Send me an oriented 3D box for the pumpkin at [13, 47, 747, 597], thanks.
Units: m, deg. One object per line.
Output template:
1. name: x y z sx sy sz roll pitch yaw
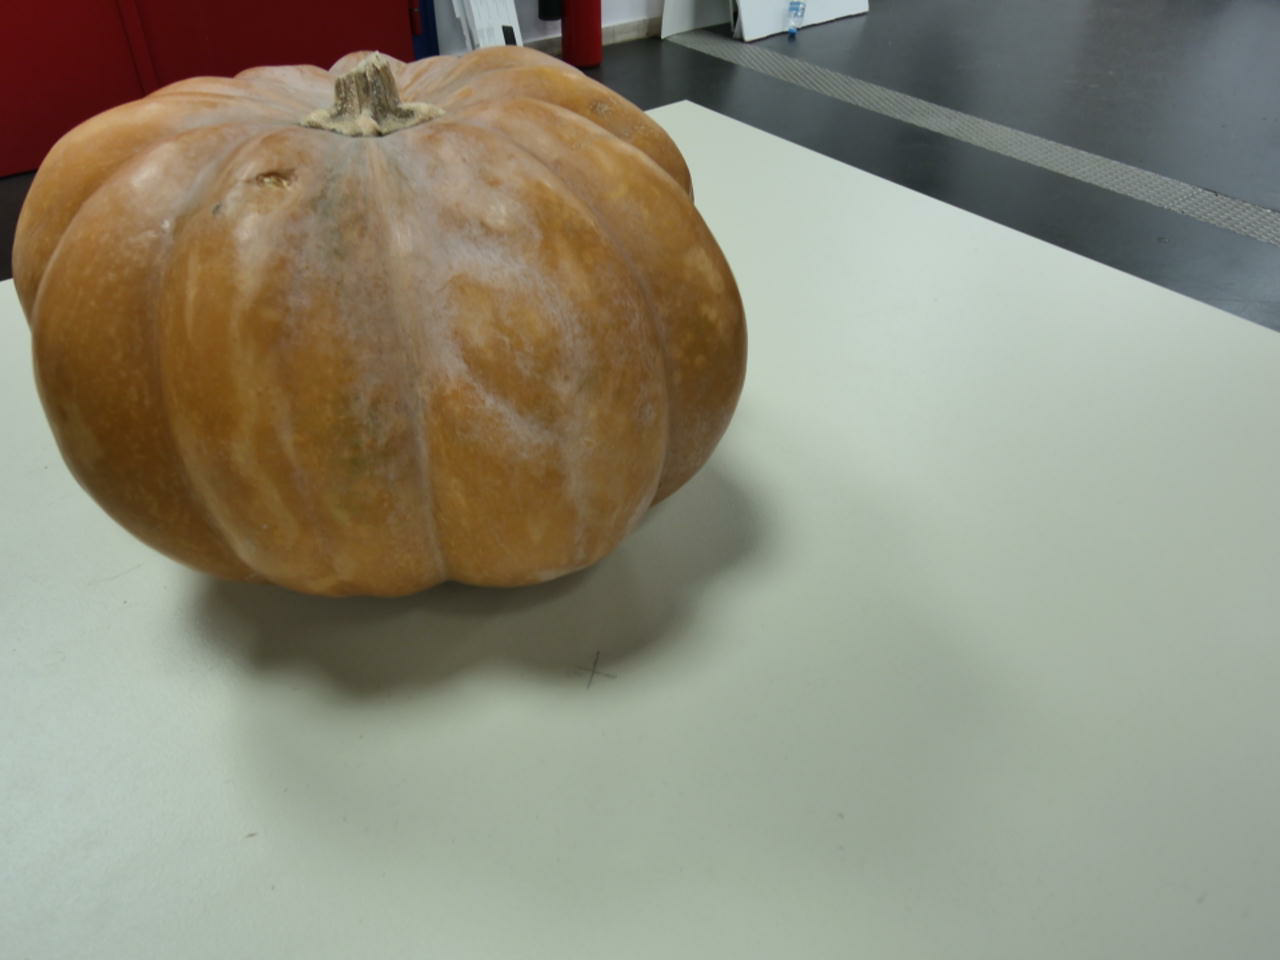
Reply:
1. pumpkin: -0.092 -0.067 0.390 0.277 0.181 0.277 0 37 0
